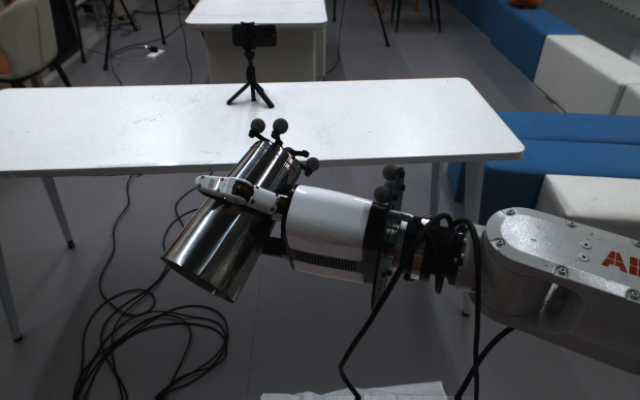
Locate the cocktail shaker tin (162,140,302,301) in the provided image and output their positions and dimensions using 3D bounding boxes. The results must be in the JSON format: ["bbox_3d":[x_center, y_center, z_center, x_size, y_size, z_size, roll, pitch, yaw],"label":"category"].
[{"bbox_3d":[-0.088,0.015,0.545,0.093,0.093,0.170,20,67,24],"label":"cocktail shaker tin"}]
